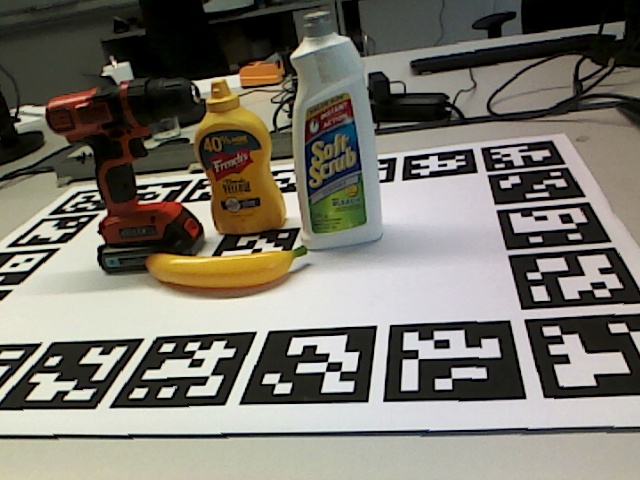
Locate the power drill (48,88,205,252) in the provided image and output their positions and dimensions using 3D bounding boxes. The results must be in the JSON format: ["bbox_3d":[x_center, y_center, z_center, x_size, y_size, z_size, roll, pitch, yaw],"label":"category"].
[{"bbox_3d":[-0.216,-0.084,0.736,0.185,0.186,0.057,-4,20,7],"label":"power drill"}]

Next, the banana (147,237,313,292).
[{"bbox_3d":[-0.108,0.028,0.683,0.198,0.038,0.074,-5,31,15],"label":"banana"}]

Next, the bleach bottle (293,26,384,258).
[{"bbox_3d":[0.011,-0.105,0.691,0.103,0.250,0.068,-9,27,4],"label":"bleach bottle"}]

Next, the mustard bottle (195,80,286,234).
[{"bbox_3d":[-0.105,-0.104,0.777,0.096,0.191,0.058,-4,26,11],"label":"mustard bottle"}]
